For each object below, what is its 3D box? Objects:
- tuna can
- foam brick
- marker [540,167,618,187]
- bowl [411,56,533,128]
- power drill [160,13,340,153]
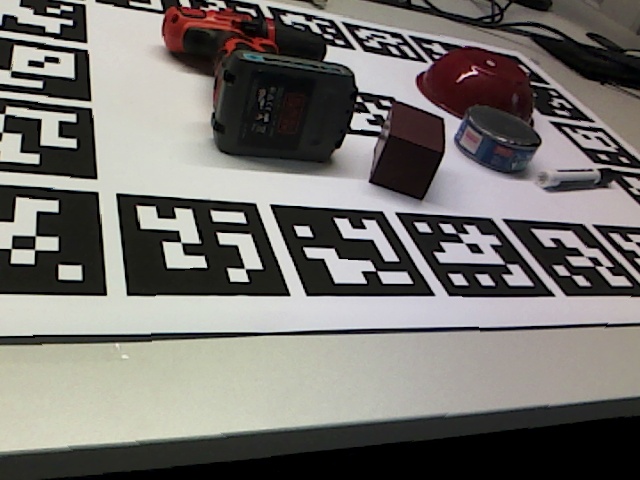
[{"bbox_3d":[0.197,-0.111,0.677,0.085,0.034,0.086,15,35,-11],"label":"tuna can"},{"bbox_3d":[0.086,-0.076,0.573,0.051,0.053,0.078,18,37,-7],"label":"foam brick"},{"bbox_3d":[0.288,-0.070,0.680,0.120,0.019,0.020,-6,45,-33],"label":"marker"},{"bbox_3d":[0.202,-0.194,0.789,0.161,0.055,0.162,10,31,-6],"label":"bowl"},{"bbox_3d":[-0.051,-0.156,0.601,0.183,0.057,0.188,4,36,-28],"label":"power drill"}]
